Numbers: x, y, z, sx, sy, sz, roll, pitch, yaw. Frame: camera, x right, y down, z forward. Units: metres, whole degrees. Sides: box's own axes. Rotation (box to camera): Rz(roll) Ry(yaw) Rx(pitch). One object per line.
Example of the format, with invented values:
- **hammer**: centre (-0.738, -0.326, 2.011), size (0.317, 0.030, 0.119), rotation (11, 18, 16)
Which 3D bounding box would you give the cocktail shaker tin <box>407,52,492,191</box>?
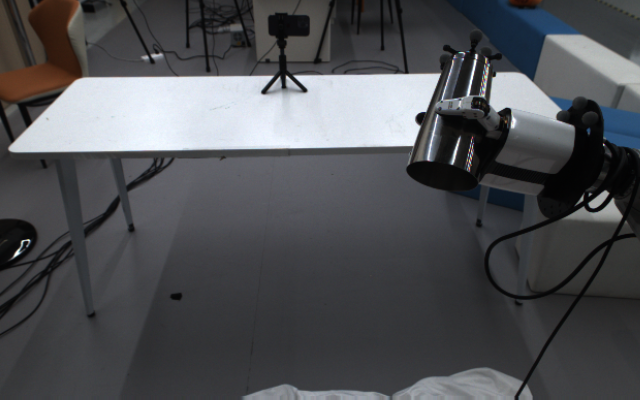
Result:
- **cocktail shaker tin**: centre (0.183, -0.107, 0.645), size (0.093, 0.093, 0.170), rotation (13, 74, 15)
